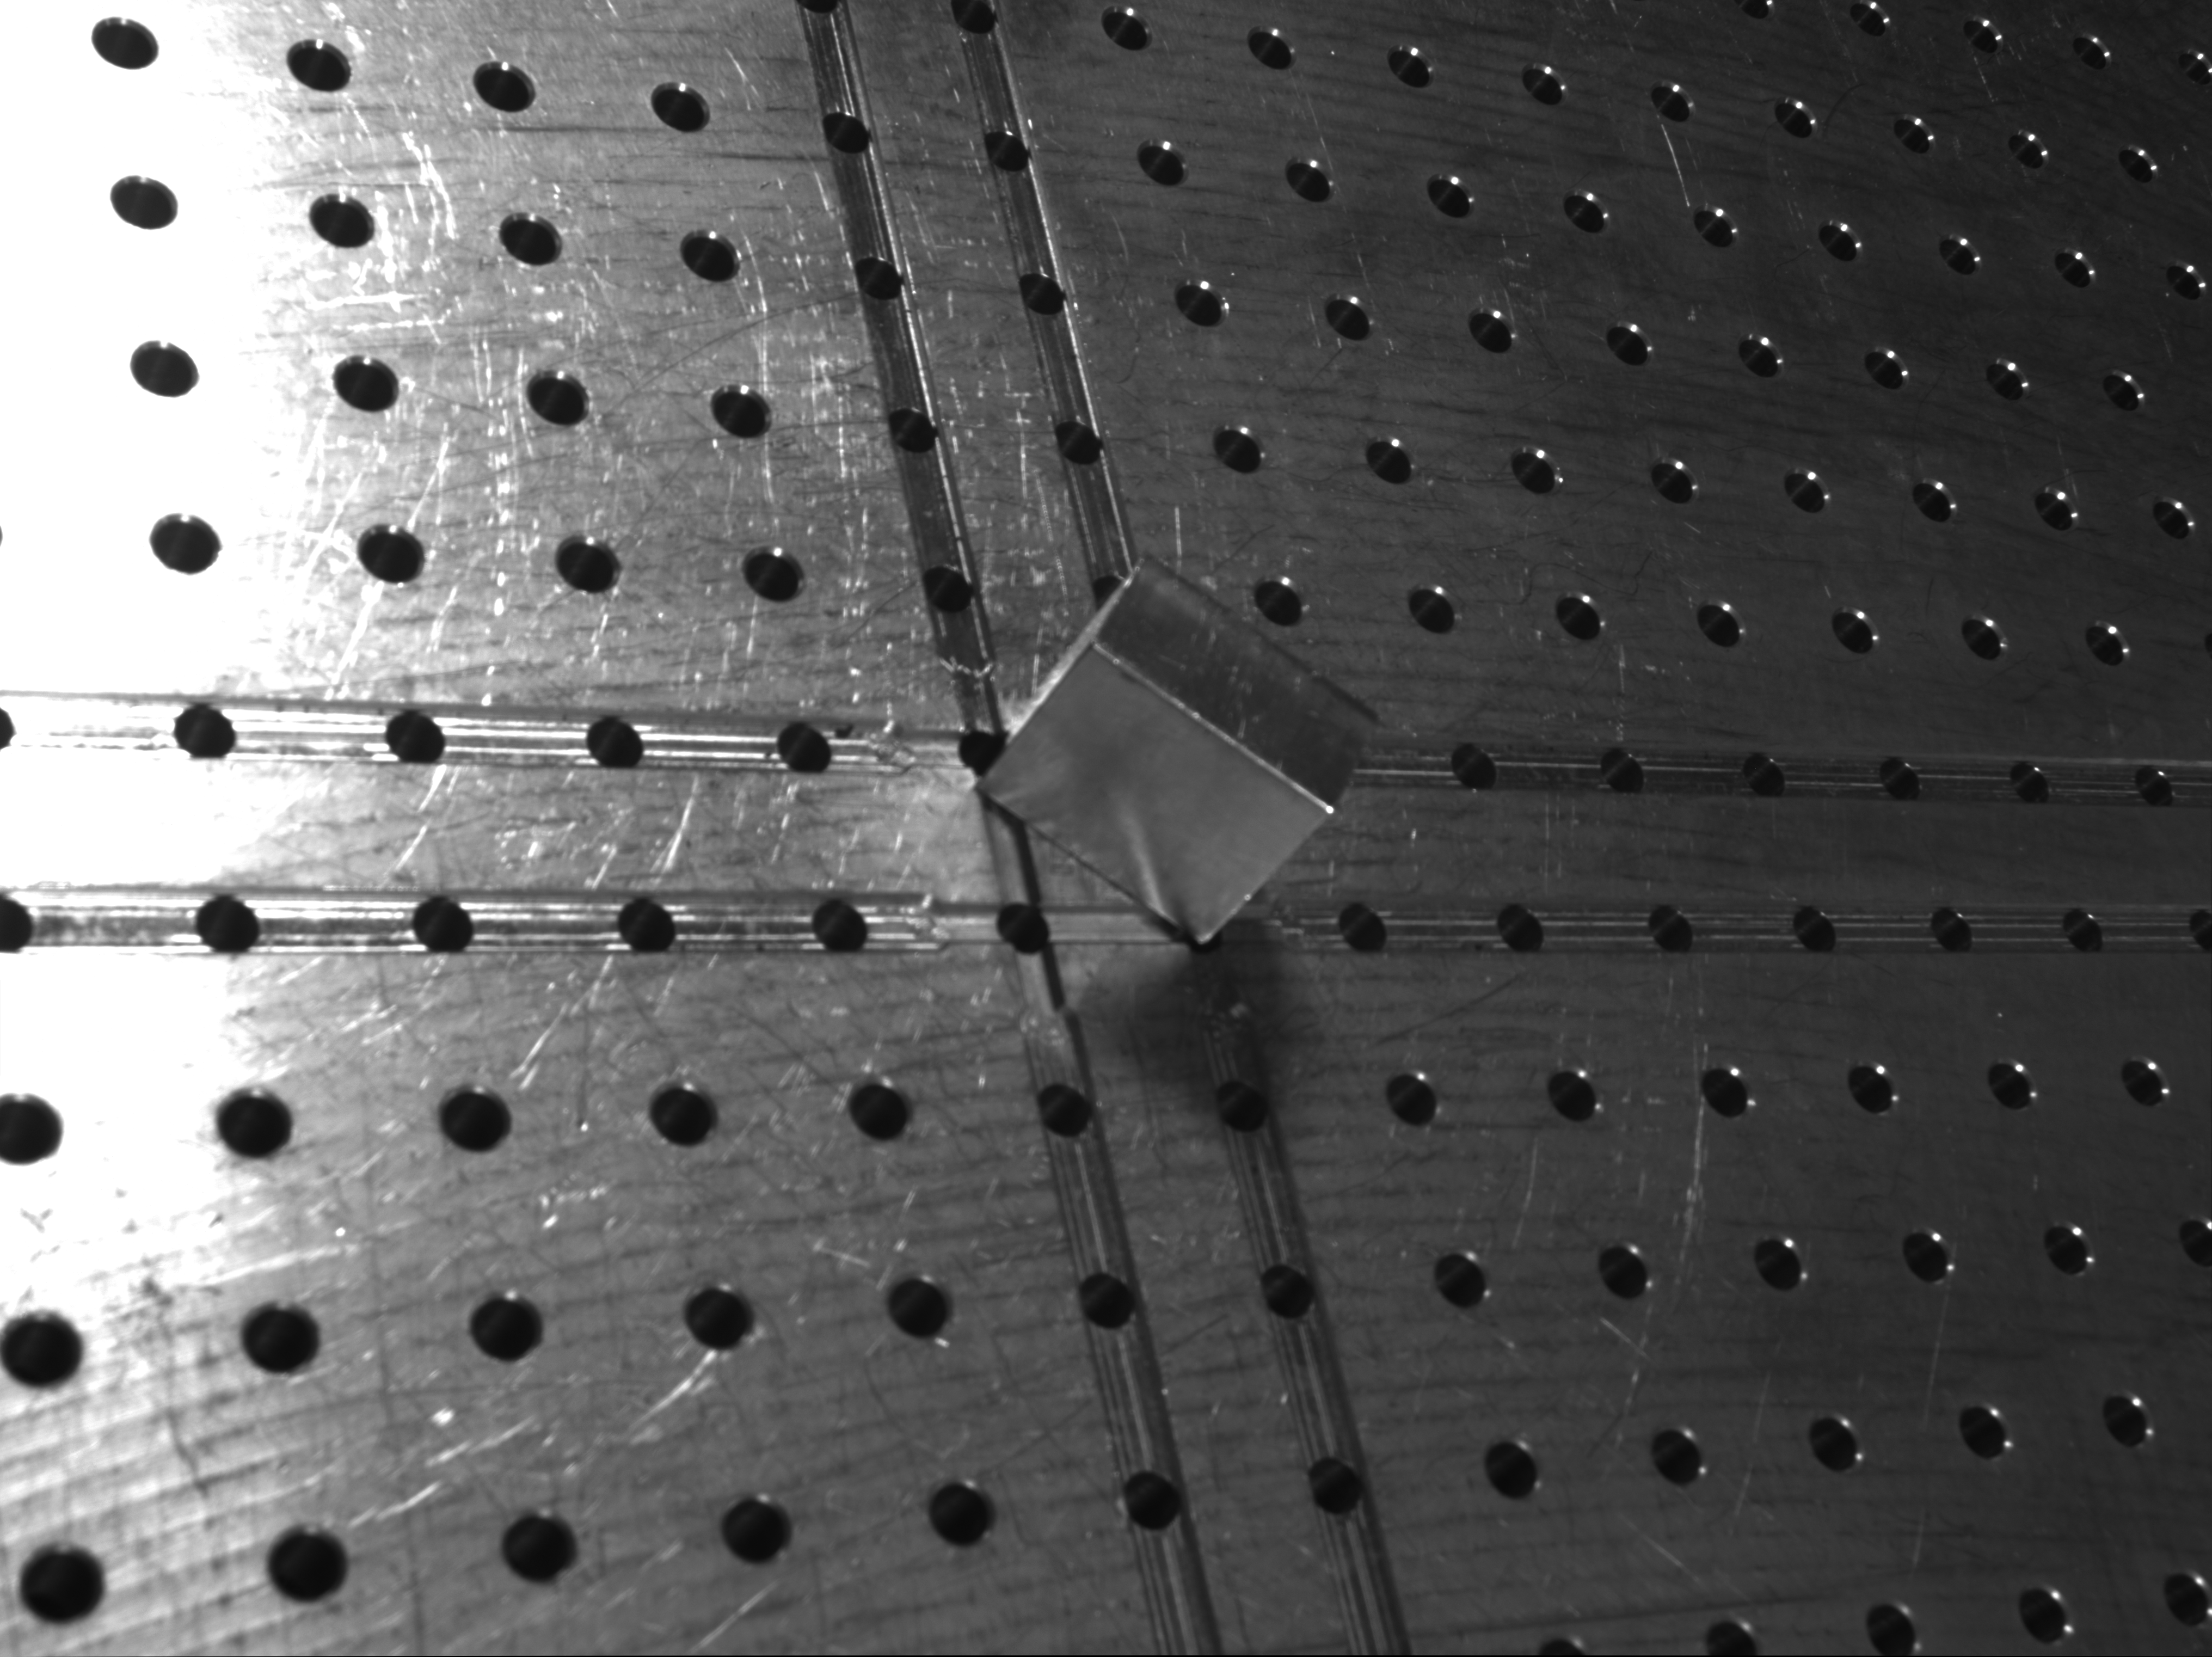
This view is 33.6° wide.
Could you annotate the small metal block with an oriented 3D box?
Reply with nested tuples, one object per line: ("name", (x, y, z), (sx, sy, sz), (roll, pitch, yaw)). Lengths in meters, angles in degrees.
("small metal block", (0.014, -0.013, 0.642), (0.050, 0.050, 0.025), (35, 51, -5))
